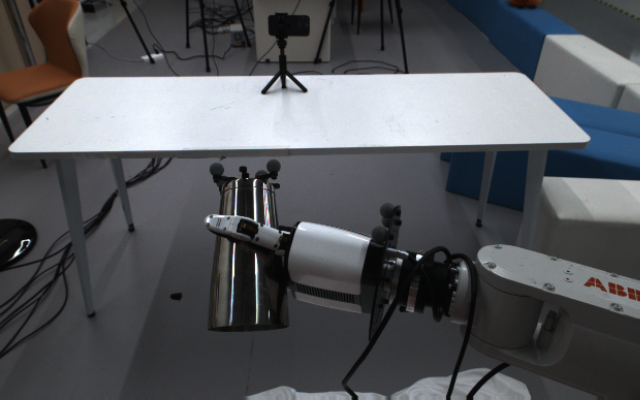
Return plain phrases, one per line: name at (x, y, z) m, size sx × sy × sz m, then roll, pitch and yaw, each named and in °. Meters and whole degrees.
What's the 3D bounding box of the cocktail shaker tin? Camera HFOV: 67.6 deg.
cocktail shaker tin at (-0.085, 0.066, 0.571) m, size 0.093 × 0.093 × 0.170 m, roll -2°, pitch 70°, yaw -5°
